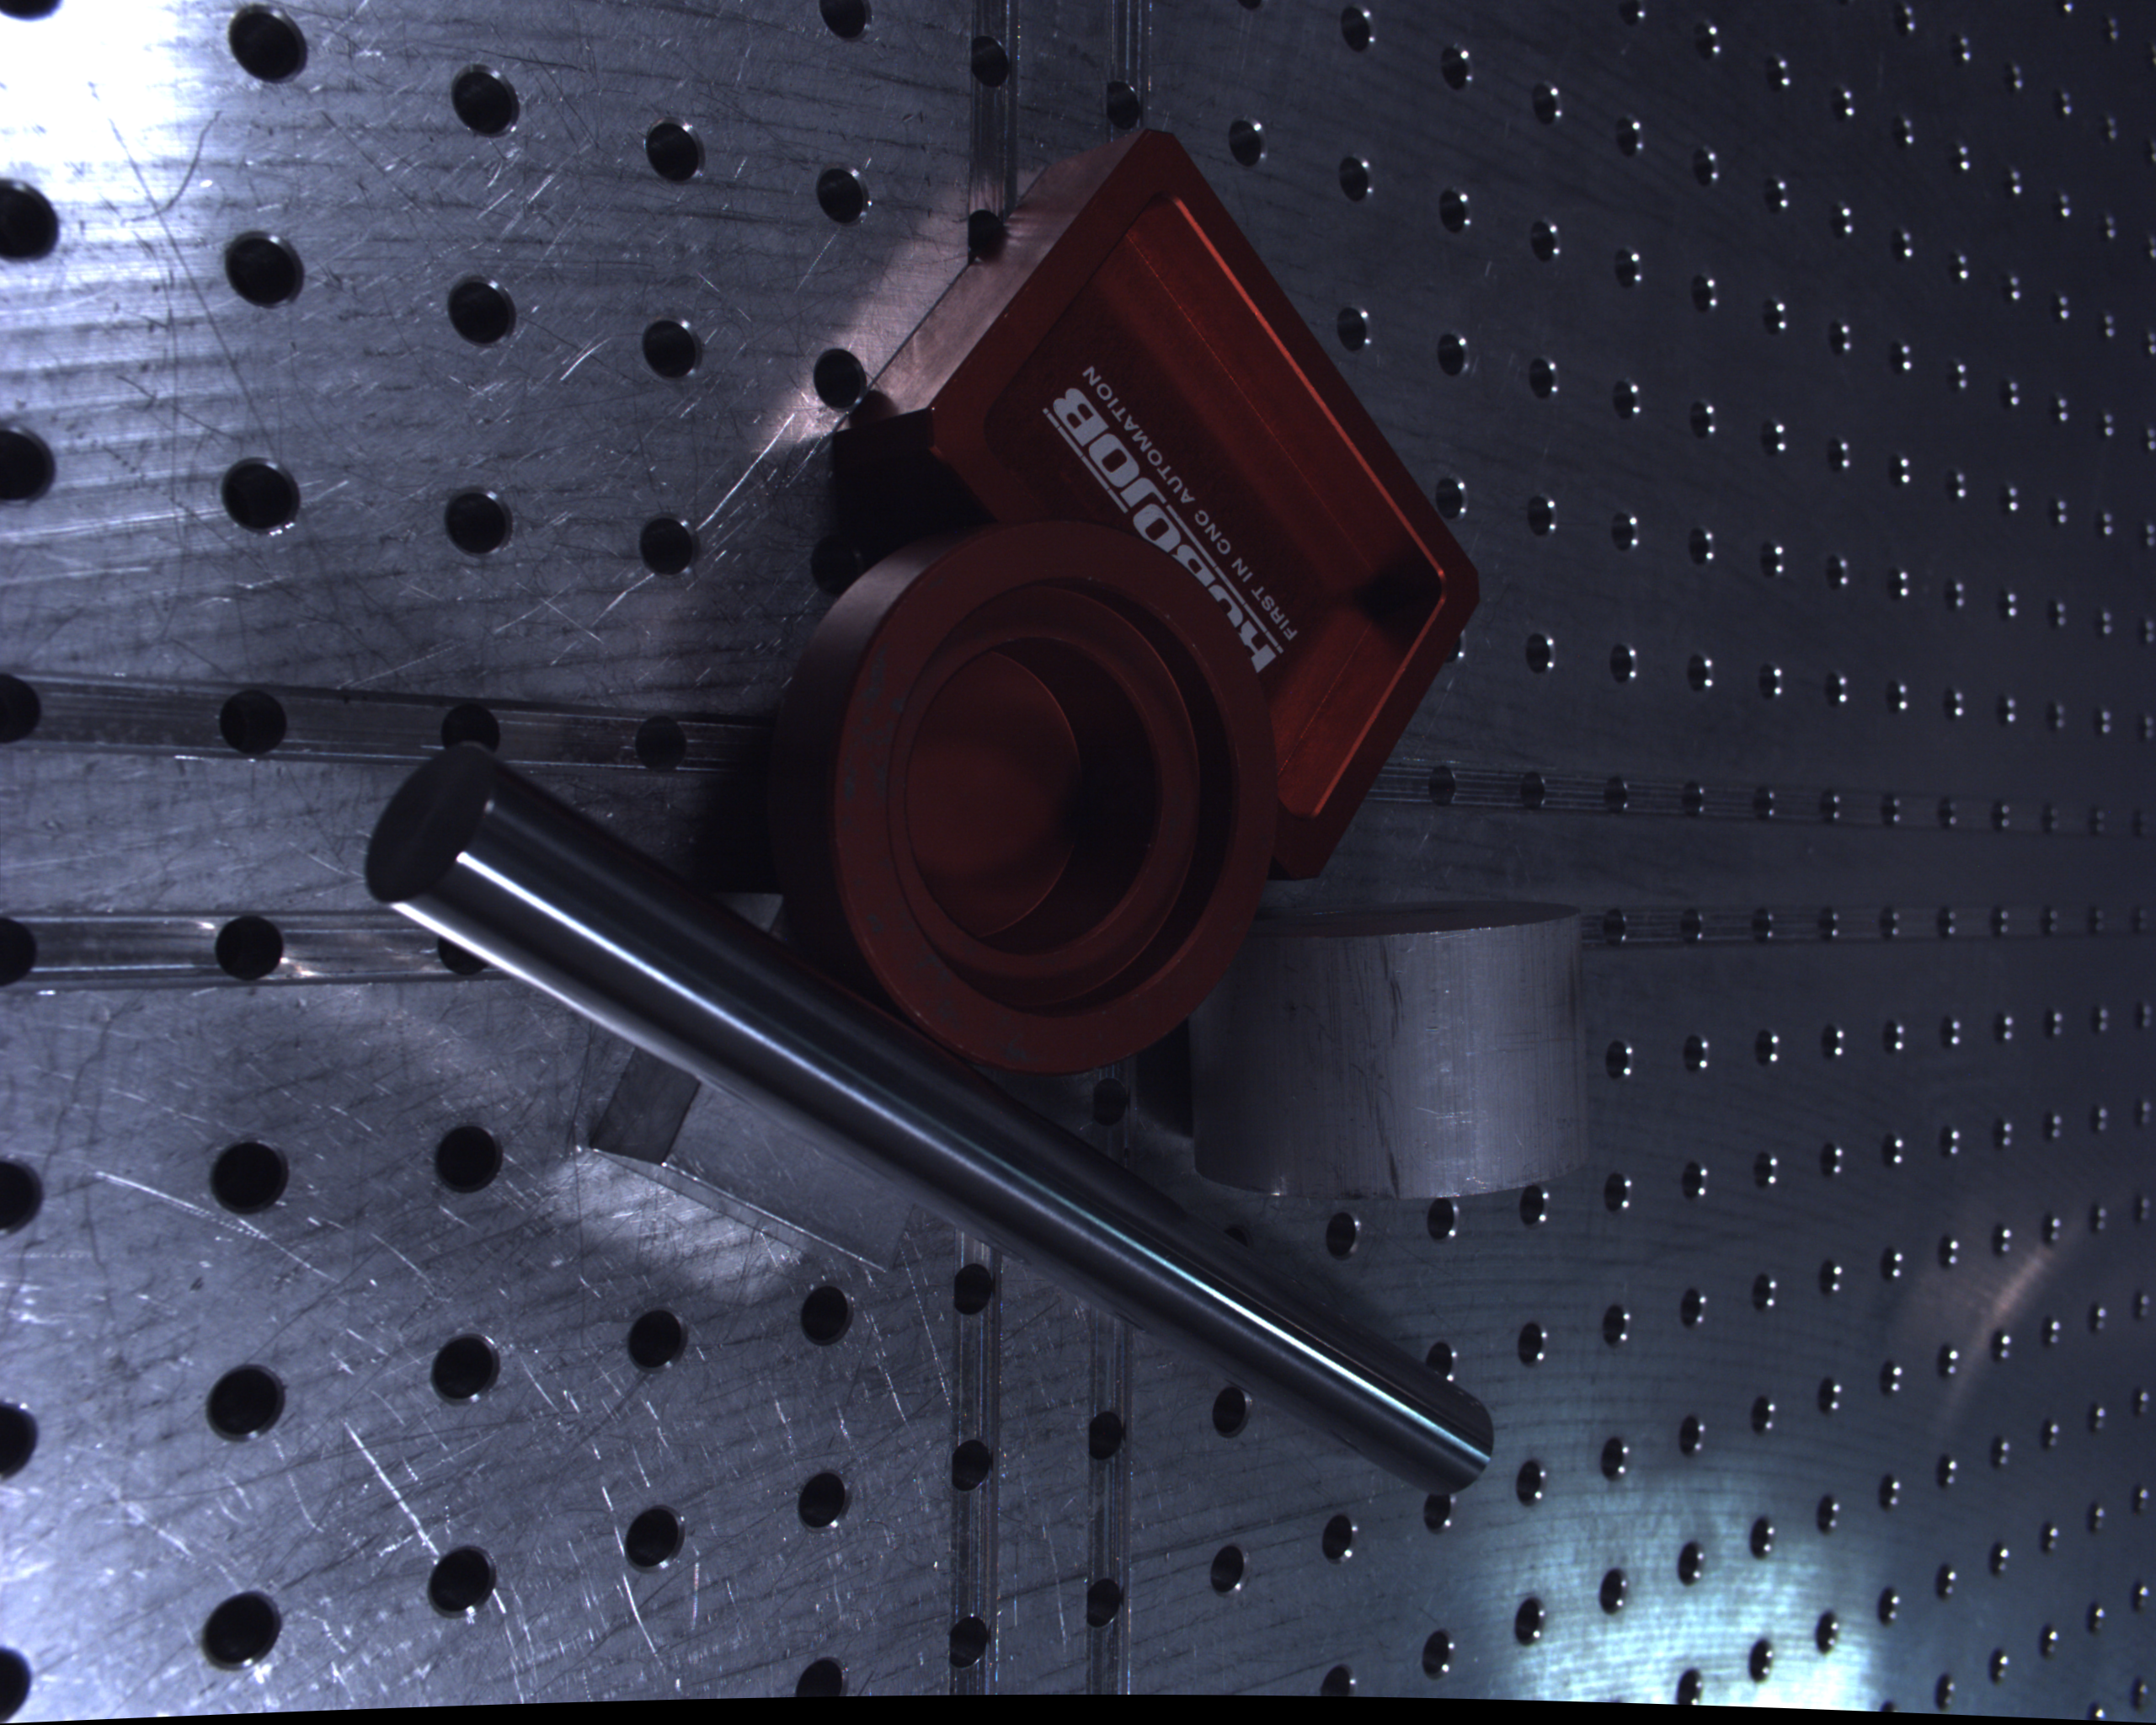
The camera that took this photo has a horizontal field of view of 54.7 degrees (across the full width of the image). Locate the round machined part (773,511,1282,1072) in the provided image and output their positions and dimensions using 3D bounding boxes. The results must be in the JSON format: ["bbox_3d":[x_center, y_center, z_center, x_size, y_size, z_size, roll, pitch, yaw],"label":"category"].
[{"bbox_3d":[-0.013,-0.012,0.379,0.099,0.042,0.097,0,90,-38],"label":"round machined part"}]

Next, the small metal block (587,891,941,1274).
[{"bbox_3d":[-0.050,0.039,0.369,0.050,0.025,0.050,35,68,-35],"label":"small metal block"}]

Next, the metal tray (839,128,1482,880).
[{"bbox_3d":[0.023,-0.069,0.426,0.130,0.030,0.090,47,61,-30],"label":"metal tray"}]

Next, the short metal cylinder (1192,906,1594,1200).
[{"bbox_3d":[0.064,0.036,0.428,0.081,0.080,0.050,-5,94,-40],"label":"short metal cylinder"}]

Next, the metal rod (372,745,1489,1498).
[{"bbox_3d":[-0.001,0.065,0.384,0.301,0.025,0.025,39,66,-43],"label":"metal rod"}]
